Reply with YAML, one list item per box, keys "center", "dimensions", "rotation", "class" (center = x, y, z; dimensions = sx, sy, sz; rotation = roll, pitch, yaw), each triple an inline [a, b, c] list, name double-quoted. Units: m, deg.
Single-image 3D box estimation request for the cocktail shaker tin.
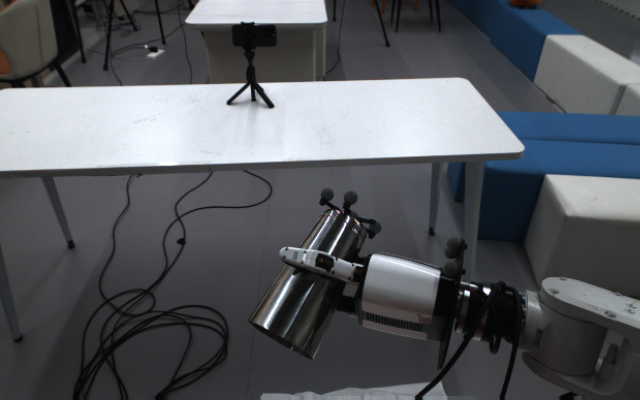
- center: [-0.006, 0.095, 0.603]
  dimensions: [0.093, 0.093, 0.170]
  rotation: [20, 66, 24]
  class: "cocktail shaker tin"
